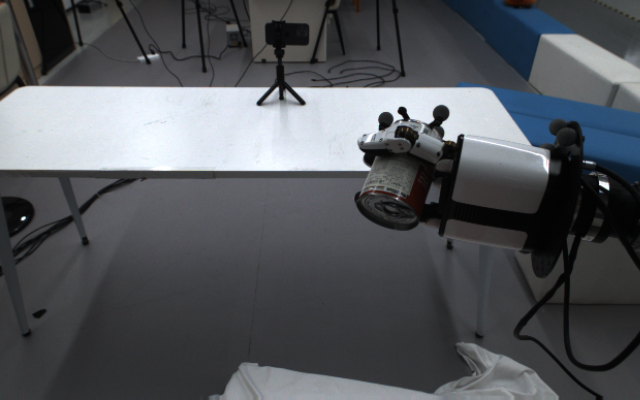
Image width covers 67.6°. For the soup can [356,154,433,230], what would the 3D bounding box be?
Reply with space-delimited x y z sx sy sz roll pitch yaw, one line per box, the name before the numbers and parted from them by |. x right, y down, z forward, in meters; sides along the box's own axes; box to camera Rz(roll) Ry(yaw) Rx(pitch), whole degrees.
soup can | 0.089 -0.030 0.523 0.067 0.067 0.101 15 63 18
